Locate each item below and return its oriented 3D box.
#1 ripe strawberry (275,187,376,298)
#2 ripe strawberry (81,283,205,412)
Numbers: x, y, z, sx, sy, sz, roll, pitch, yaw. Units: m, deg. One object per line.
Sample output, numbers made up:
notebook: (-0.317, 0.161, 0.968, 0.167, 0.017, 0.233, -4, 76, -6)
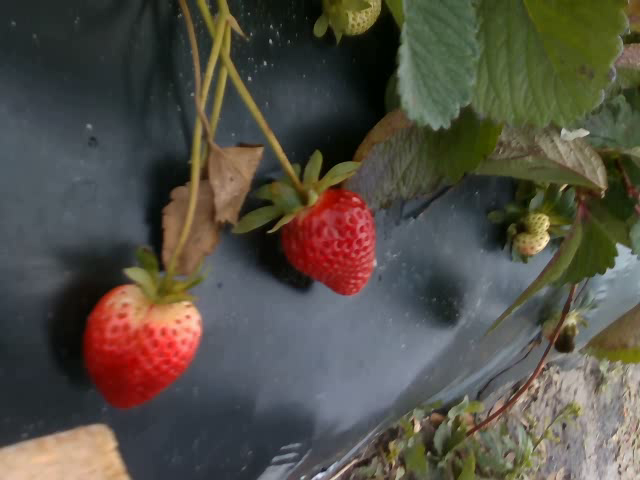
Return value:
ripe strawberry: (0.006, 0.001, 0.233, 0.044, 0.059, 0.042, -26, 39, -5)
ripe strawberry: (-0.048, 0.032, 0.182, 0.036, 0.041, 0.027, 5, 21, -42)
